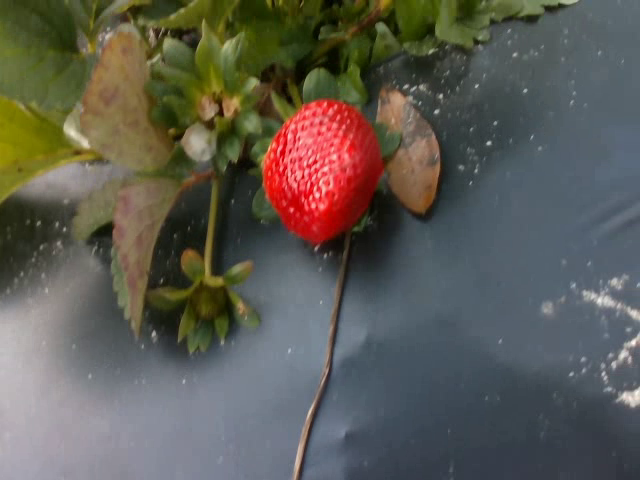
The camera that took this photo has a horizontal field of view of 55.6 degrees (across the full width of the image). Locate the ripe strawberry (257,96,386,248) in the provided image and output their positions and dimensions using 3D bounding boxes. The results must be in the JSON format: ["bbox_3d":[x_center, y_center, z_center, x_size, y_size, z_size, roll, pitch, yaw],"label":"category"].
[{"bbox_3d":[0.001,-0.019,0.204,0.050,0.049,0.053,-23,23,3],"label":"ripe strawberry"}]
